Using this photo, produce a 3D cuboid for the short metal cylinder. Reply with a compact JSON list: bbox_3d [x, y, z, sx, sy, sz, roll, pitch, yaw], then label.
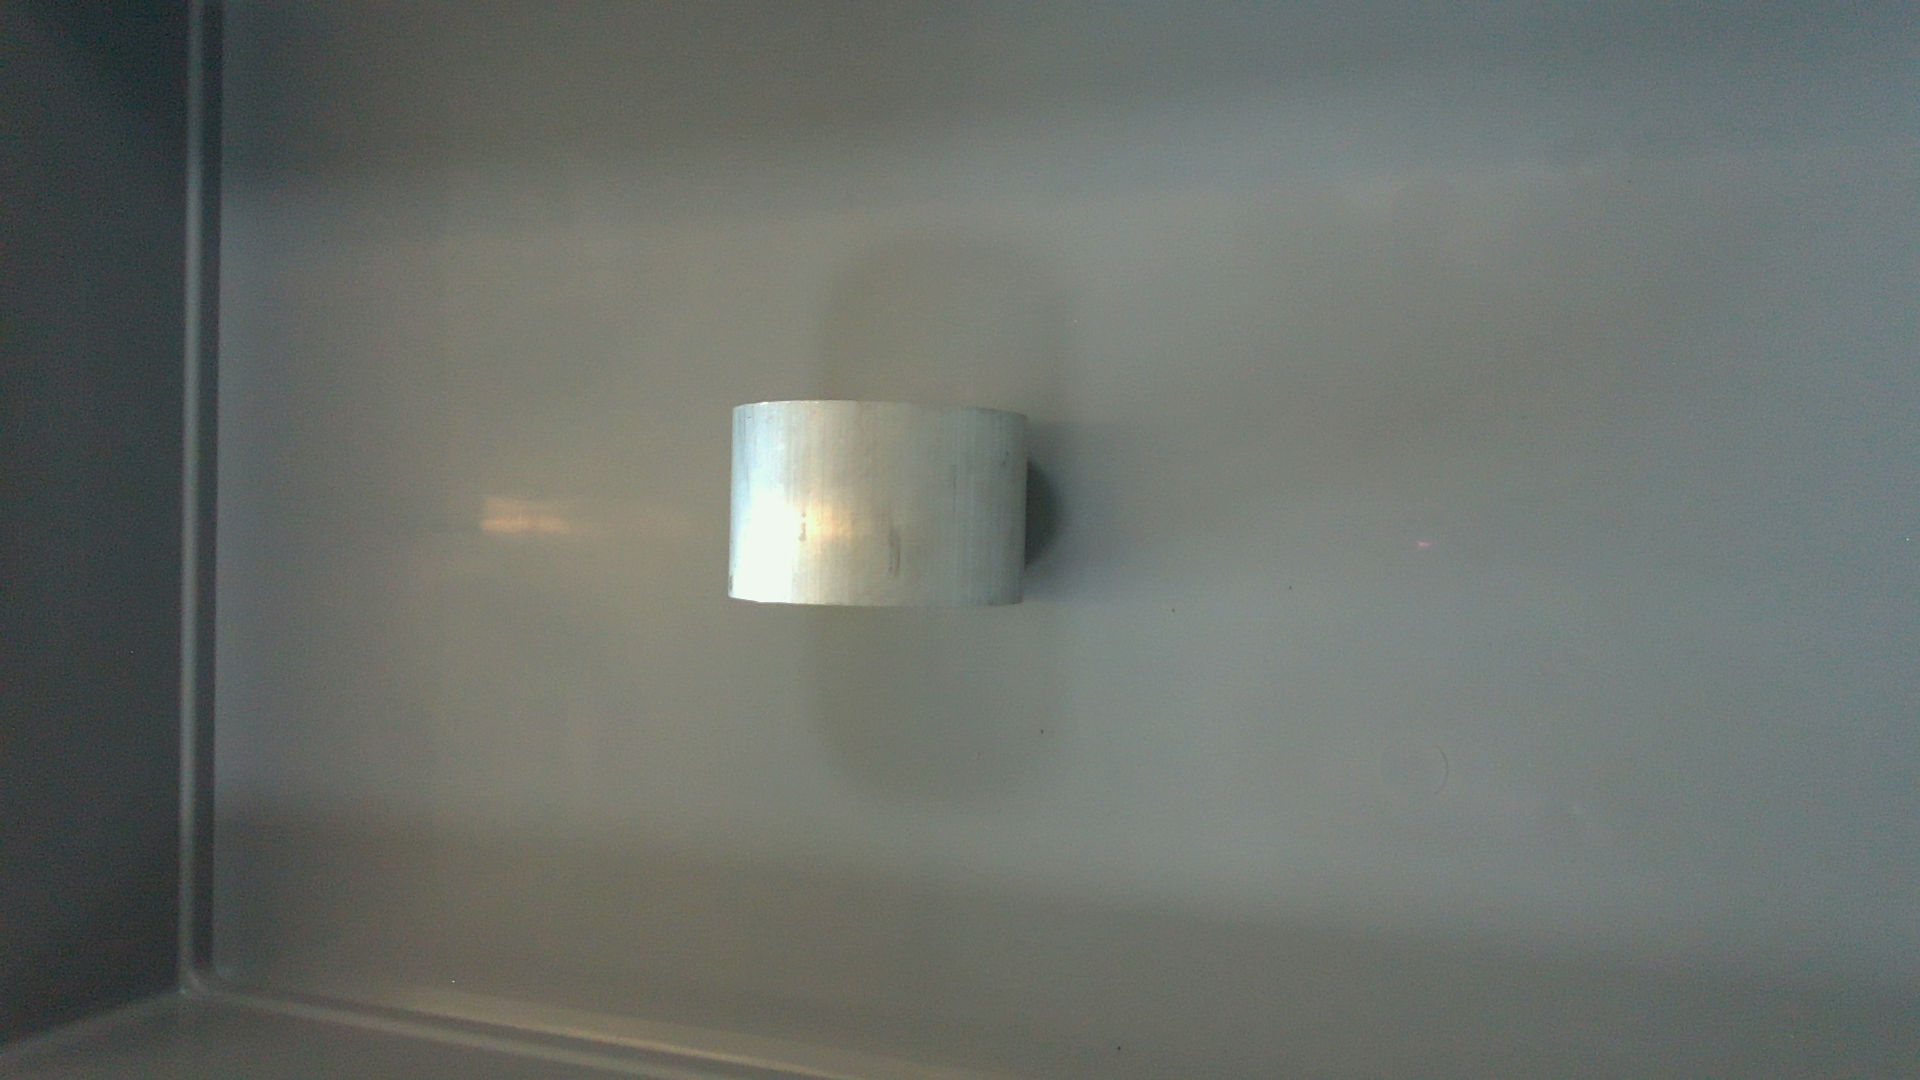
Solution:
[{"bbox_3d":[-0.023,-0.009,0.372,0.080,0.080,0.050,2,91,20],"label":"short metal cylinder"}]
